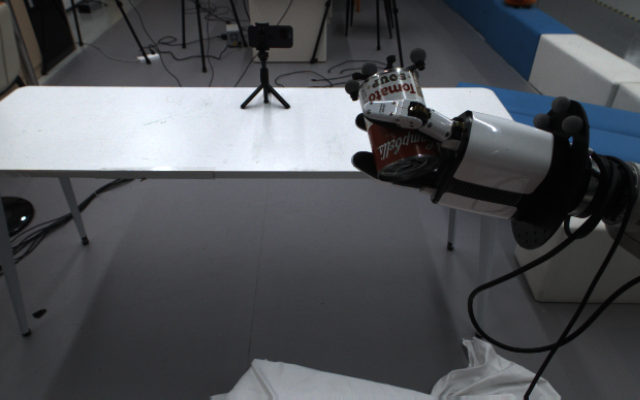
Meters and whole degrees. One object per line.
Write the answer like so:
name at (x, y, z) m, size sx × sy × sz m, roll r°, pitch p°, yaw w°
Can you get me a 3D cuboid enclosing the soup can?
soup can at (0.085, -0.079, 0.516) m, size 0.067 × 0.067 × 0.101 m, roll -8°, pitch 74°, yaw -14°
